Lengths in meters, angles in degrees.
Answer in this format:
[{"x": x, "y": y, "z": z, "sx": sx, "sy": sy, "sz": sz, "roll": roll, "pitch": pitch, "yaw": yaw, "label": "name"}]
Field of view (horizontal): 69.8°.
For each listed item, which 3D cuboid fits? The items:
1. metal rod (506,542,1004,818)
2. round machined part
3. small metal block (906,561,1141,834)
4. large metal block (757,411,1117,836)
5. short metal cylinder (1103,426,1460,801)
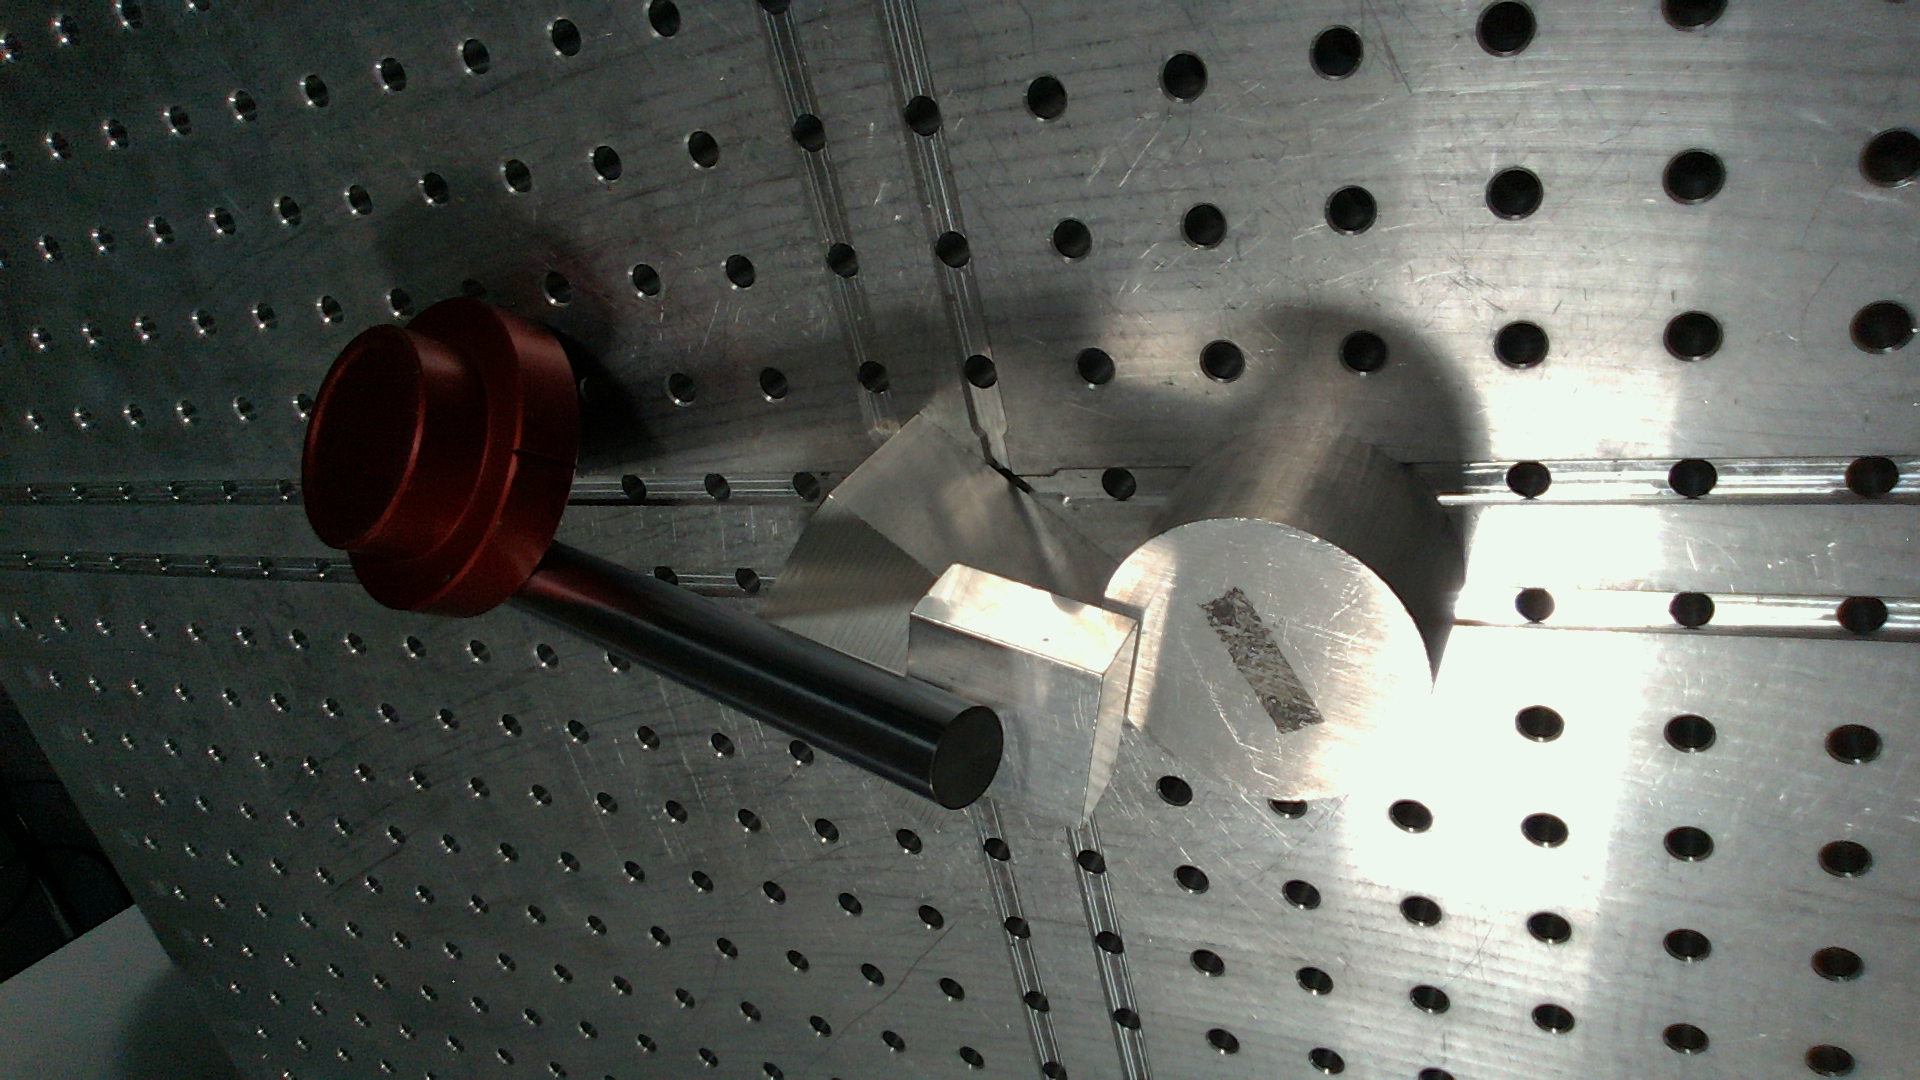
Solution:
[{"x": -0.108, "y": 0.019, "z": 0.409, "sx": 0.299, "sy": 0.025, "sz": 0.025, "roll": 16, "pitch": 127, "yaw": 40, "label": "metal rod"}, {"x": -0.164, "y": -0.027, "z": 0.422, "sx": 0.098, "sy": 0.042, "sz": 0.098, "roll": -10, "pitch": 74, "yaw": 38, "label": "round machined part"}, {"x": 0.014, "y": 0.039, "z": 0.345, "sx": 0.050, "sy": 0.025, "sz": 0.050, "roll": 17, "pitch": 125, "yaw": 18, "label": "small metal block"}, {"x": -0.009, "y": 0.025, "z": 0.397, "sx": 0.080, "sy": 0.050, "sz": 0.080, "roll": 37, "pitch": 129, "yaw": 3, "label": "large metal block"}, {"x": 0.082, "y": 0.018, "z": 0.347, "sx": 0.080, "sy": 0.050, "sz": 0.080, "roll": 13, "pitch": 124, "yaw": 21, "label": "short metal cylinder"}]
